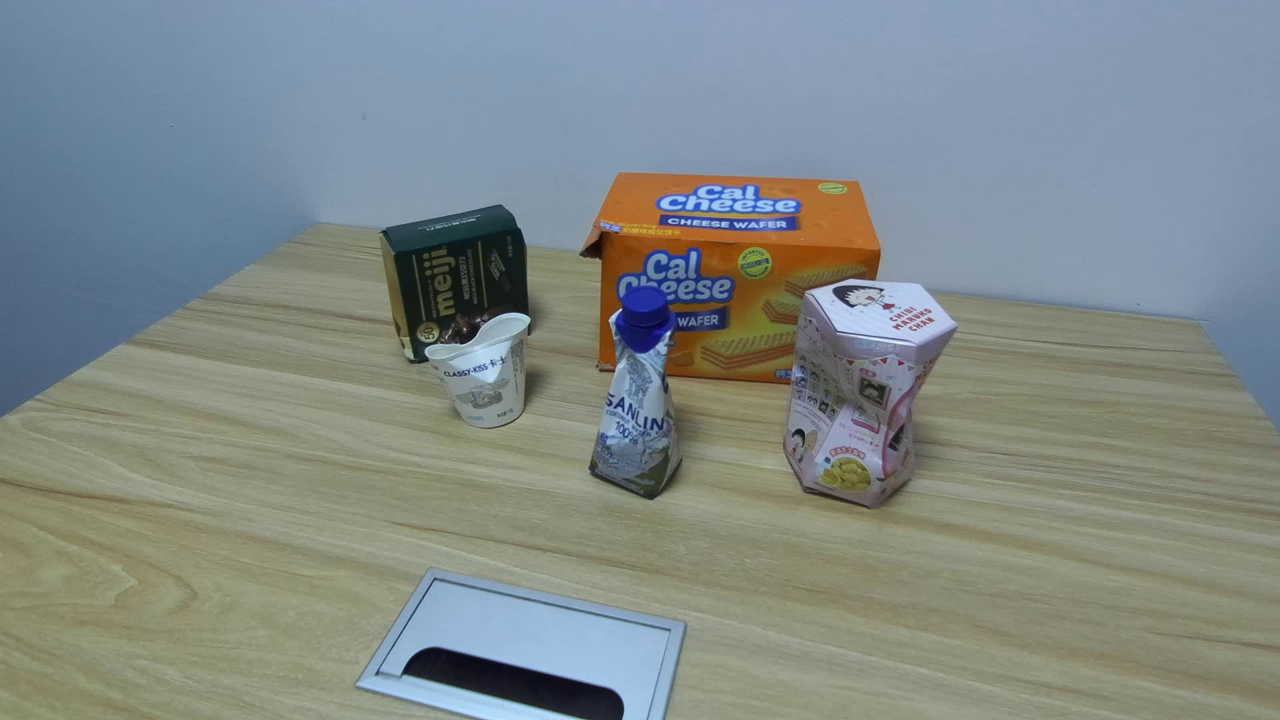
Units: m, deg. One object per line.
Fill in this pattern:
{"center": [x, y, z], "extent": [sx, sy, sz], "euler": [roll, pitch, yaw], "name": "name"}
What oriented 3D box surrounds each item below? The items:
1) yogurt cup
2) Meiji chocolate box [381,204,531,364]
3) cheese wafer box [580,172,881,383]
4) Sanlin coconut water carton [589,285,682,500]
{"center": [-0.120, 0.008, 0.546], "extent": [0.053, 0.071, 0.075], "euler": [12, 37, 20], "name": "yogurt cup"}
{"center": [-0.159, -0.069, 0.624], "extent": [0.123, 0.116, 0.058], "euler": [-14, 36, -20], "name": "Meiji chocolate box"}
{"center": [0.077, -0.077, 0.613], "extent": [0.227, 0.137, 0.149], "euler": [4, 35, 6], "name": "cheese wafer box"}
{"center": [0.009, 0.017, 0.470], "extent": [0.056, 0.144, 0.068], "euler": [22, 31, 19], "name": "Sanlin coconut water carton"}
